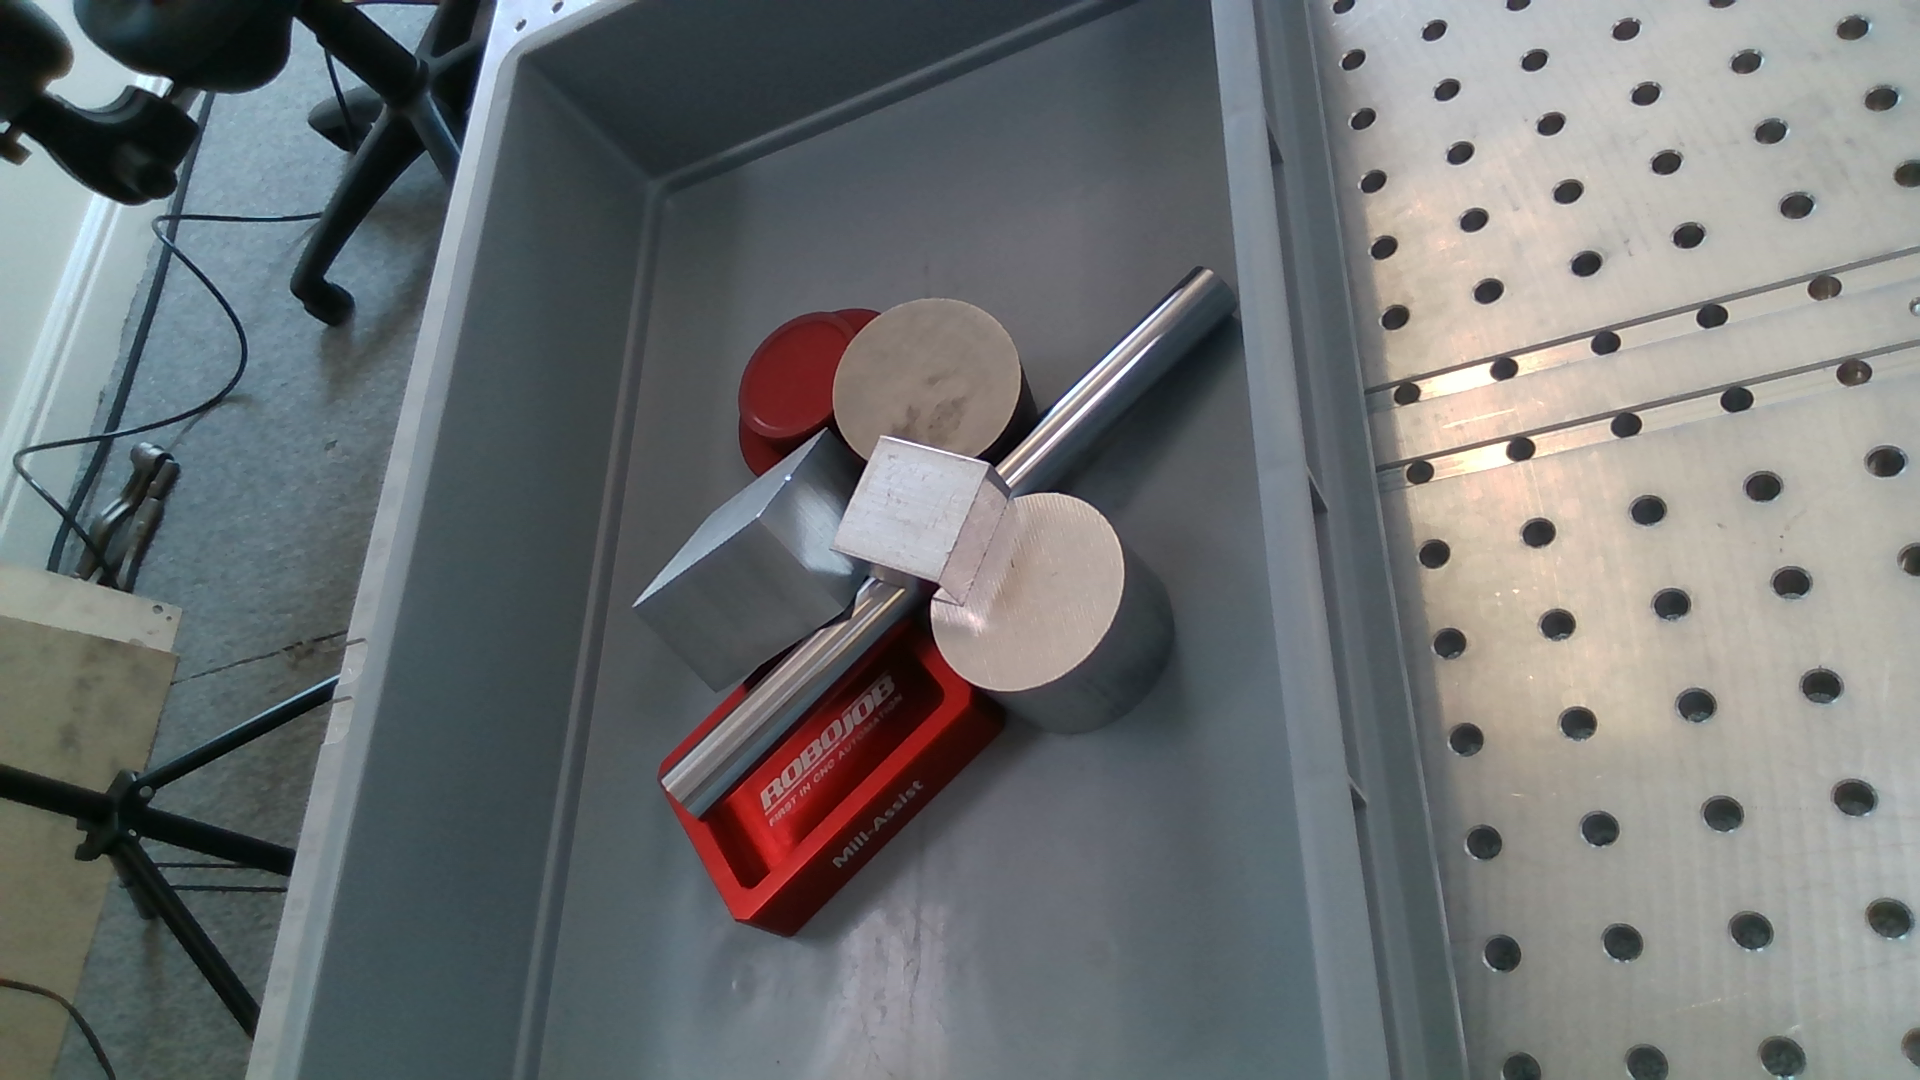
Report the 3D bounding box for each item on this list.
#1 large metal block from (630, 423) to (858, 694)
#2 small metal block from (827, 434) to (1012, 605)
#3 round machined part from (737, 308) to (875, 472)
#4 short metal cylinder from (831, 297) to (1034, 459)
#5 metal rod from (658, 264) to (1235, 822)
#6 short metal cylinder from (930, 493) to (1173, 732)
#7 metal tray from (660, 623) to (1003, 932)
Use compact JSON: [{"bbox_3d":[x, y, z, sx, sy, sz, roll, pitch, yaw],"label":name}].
[{"bbox_3d":[-0.079,0.007,0.579,0.080,0.050,0.080,-33,17,31],"label":"large metal block"},{"bbox_3d":[-0.015,-0.008,0.530,0.050,0.025,0.050,16,74,28],"label":"small metal block"},{"bbox_3d":[-0.066,-0.068,0.649,0.098,0.042,0.098,-14,59,25],"label":"round machined part"},{"bbox_3d":[-0.010,-0.056,0.590,0.080,0.050,0.080,-4,70,11],"label":"short metal cylinder"},{"bbox_3d":[-0.002,-0.002,0.555,0.300,0.025,0.025,-44,50,-8],"label":"metal rod"},{"bbox_3d":[0.036,0.029,0.531,0.080,0.050,0.080,-14,59,25],"label":"short metal cylinder"},{"bbox_3d":[-0.056,0.085,0.570,0.130,0.030,0.090,-45,51,4],"label":"metal tray"}]
